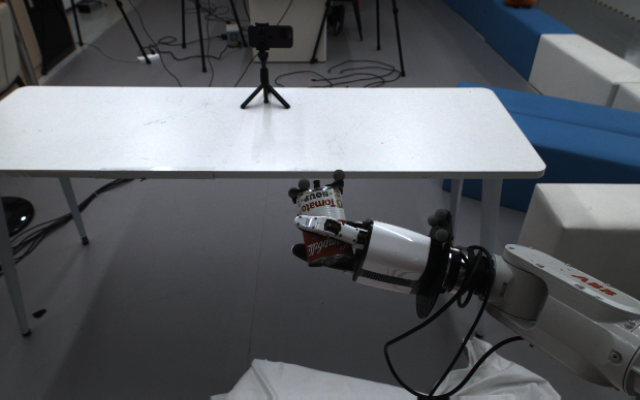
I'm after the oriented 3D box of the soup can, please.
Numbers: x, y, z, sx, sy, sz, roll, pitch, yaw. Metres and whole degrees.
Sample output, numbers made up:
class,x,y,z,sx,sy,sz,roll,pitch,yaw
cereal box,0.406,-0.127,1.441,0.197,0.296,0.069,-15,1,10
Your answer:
class,x,y,z,sx,sy,sz,roll,pitch,yaw
soup can,0.008,0.039,0.696,0.067,0.067,0.101,-8,74,-14
